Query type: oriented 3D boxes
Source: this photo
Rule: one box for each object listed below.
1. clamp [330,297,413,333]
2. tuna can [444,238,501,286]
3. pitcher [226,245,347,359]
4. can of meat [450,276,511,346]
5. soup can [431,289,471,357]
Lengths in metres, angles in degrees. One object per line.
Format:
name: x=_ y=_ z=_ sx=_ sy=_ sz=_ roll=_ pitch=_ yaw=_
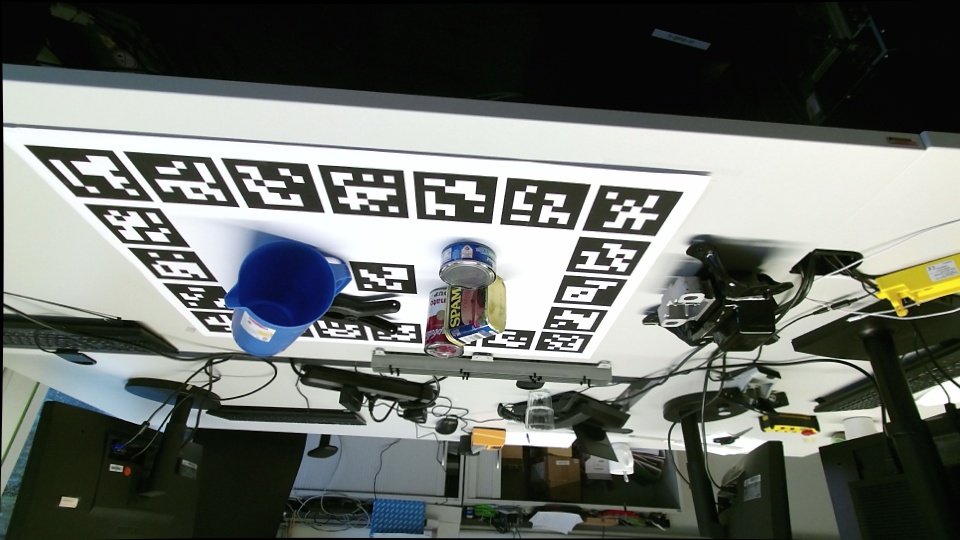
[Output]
clamp: x=-0.209 y=0.077 z=0.996 sx=0.166 sy=0.036 sz=0.122 roll=8 pitch=152 yaw=-2
tuna can: x=-0.011 y=-0.012 z=0.821 sx=0.086 sy=0.033 sz=0.086 roll=2 pitch=146 yaw=1
pitcher: x=-0.317 y=0.064 z=0.866 sx=0.189 sy=0.132 sz=0.243 roll=-6 pitch=162 yaw=-31
can of meat: x=0.002 y=0.063 z=0.871 sx=0.084 sy=0.101 sz=0.058 roll=-20 pitch=141 yaw=26
soup can: x=-0.050 y=0.092 z=0.931 sx=0.068 sy=0.101 sz=0.068 roll=-1 pitch=147 yaw=0
